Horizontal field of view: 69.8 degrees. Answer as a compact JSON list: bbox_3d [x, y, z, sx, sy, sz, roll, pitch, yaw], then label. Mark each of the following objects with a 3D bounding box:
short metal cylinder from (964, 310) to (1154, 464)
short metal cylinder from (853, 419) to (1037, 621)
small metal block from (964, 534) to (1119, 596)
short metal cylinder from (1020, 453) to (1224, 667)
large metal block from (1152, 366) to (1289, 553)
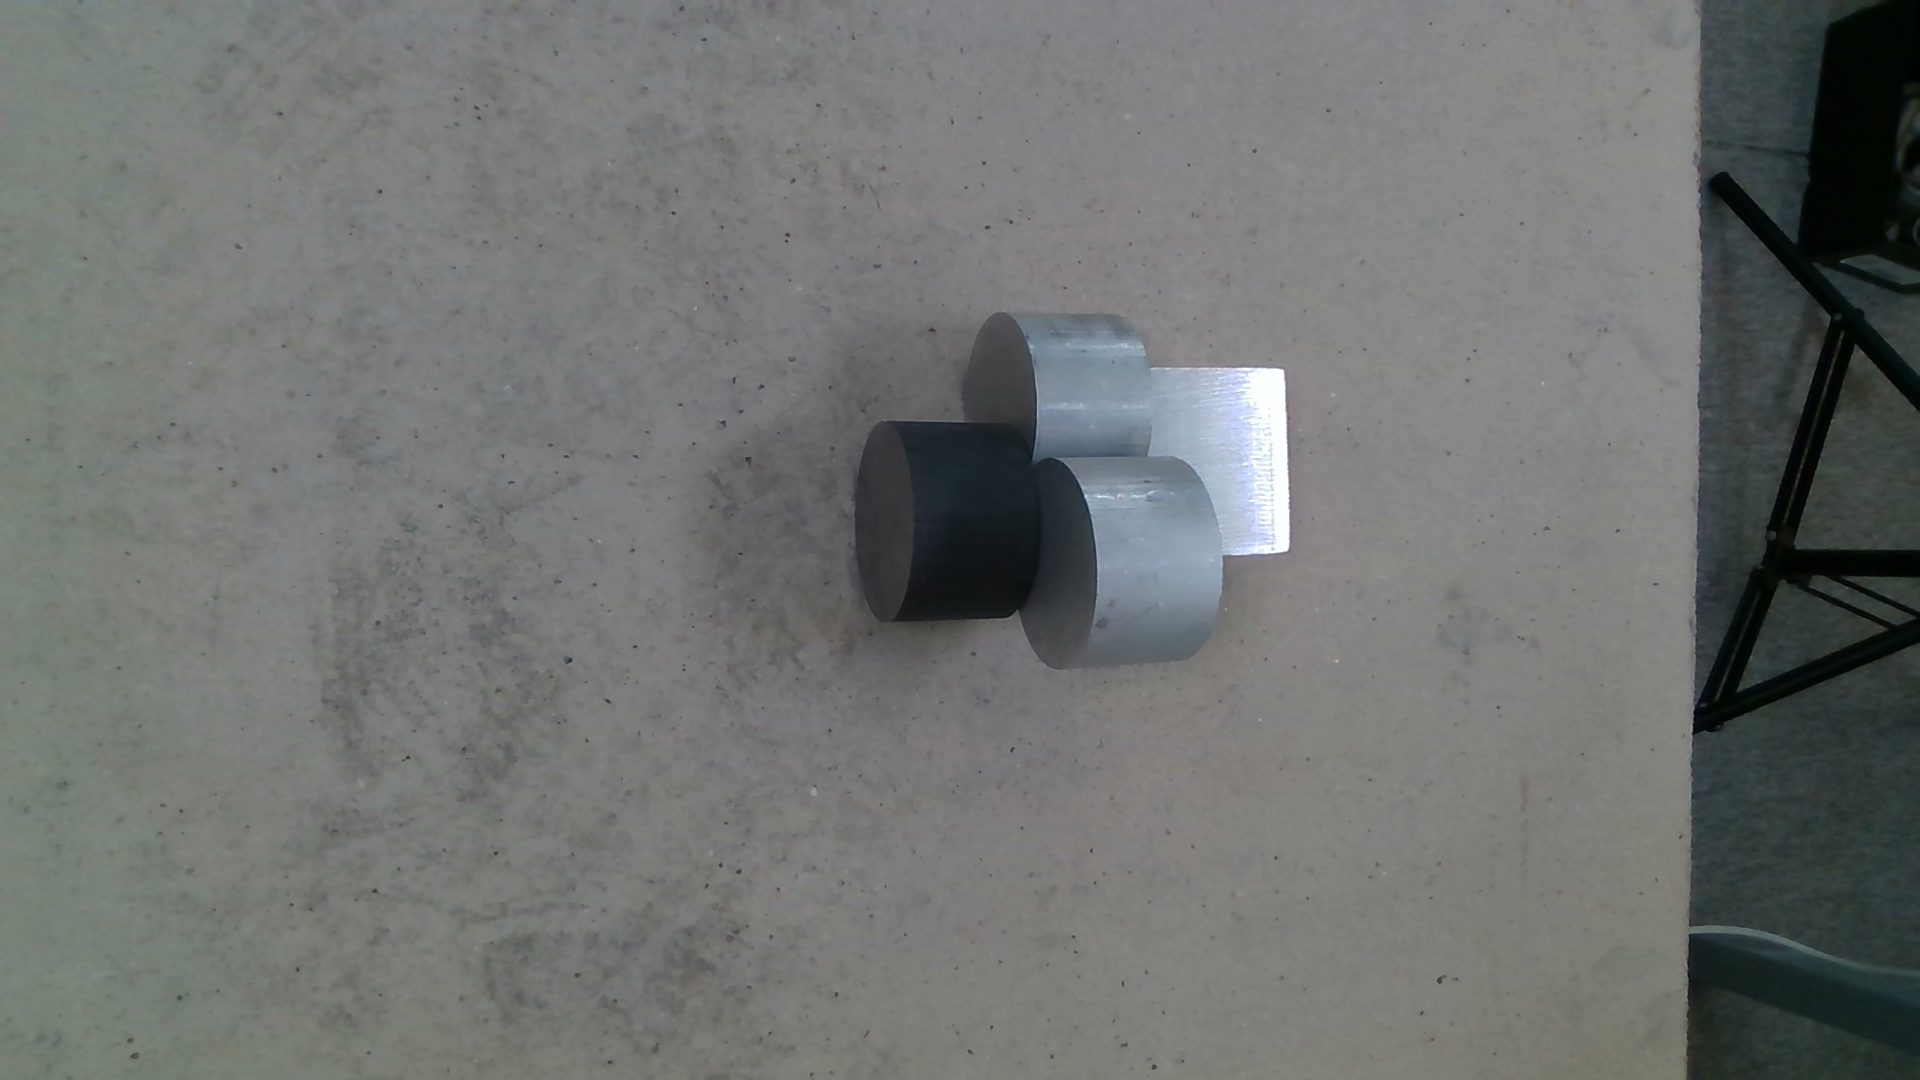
[{"bbox_3d":[0.039,-0.054,0.572,0.050,0.080,0.080,-2,91,-20],"label":"short metal cylinder"},{"bbox_3d":[-0.008,-0.008,0.555,0.050,0.080,0.080,-1,90,-20],"label":"short metal cylinder"},{"bbox_3d":[0.034,0.011,0.588,0.050,0.050,0.025,1,90,-20],"label":"small metal block"},{"bbox_3d":[0.058,0.007,0.526,0.050,0.080,0.080,-2,91,-20],"label":"short metal cylinder"},{"bbox_3d":[0.096,-0.034,0.609,0.080,0.050,0.080,-2,91,-20],"label":"large metal block"}]
